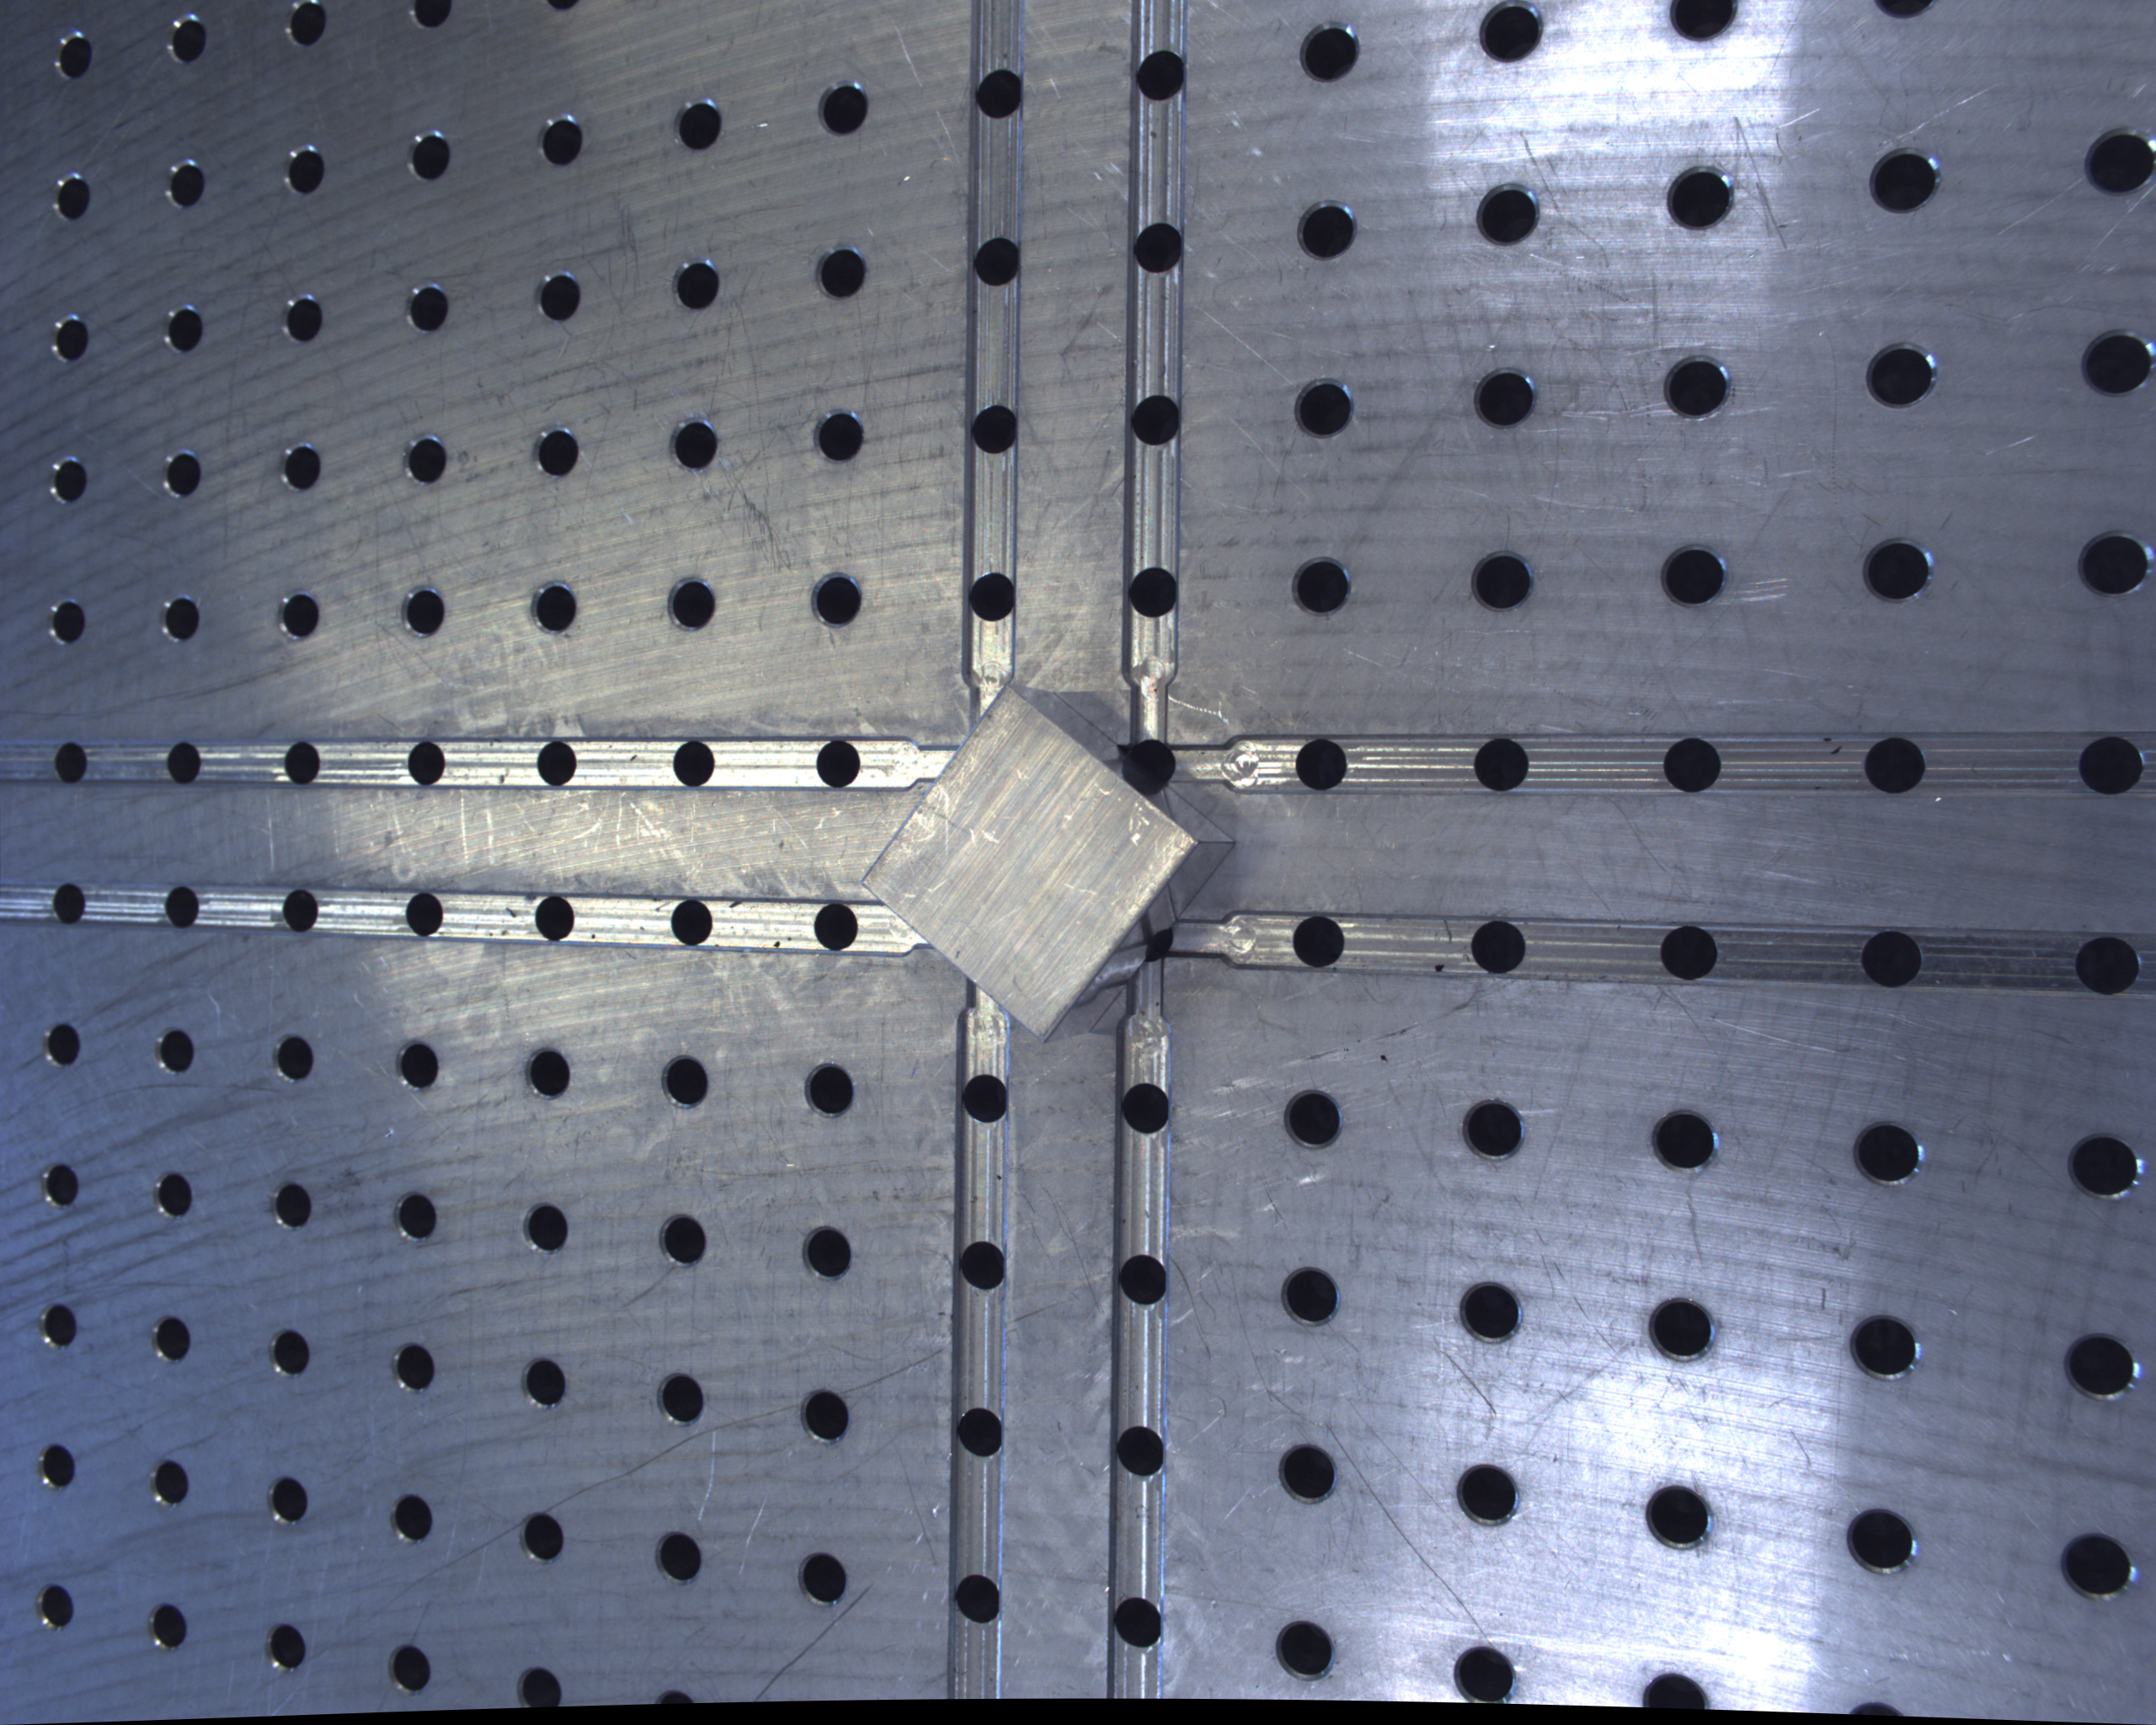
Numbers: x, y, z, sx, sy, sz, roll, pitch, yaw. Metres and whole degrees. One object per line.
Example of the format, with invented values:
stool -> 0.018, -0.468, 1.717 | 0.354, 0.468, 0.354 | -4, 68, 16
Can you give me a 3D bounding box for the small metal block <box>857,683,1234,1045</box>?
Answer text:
small metal block -> -0.006, 0.000, 0.415 | 0.050, 0.025, 0.050 | 40, 103, 15
